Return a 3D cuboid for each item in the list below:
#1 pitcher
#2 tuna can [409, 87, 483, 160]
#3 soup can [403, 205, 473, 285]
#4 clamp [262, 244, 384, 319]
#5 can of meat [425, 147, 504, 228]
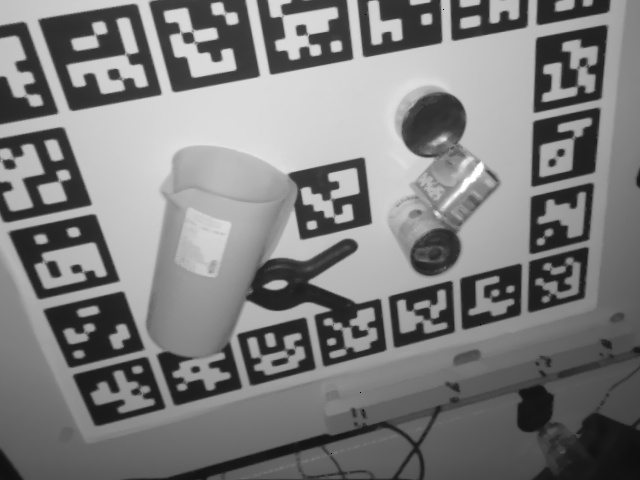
[{"bbox_3d":[-0.112,0.027,0.824,0.192,0.133,0.239,-5,128,-35],"label":"pitcher"},{"bbox_3d":[0.155,-0.145,0.857,0.086,0.034,0.085,-5,117,-10],"label":"tuna can"},{"bbox_3d":[0.154,0.004,0.898,0.068,0.102,0.067,-6,117,-12],"label":"soup can"},{"bbox_3d":[0.003,0.068,0.944,0.166,0.037,0.121,-9,123,-4],"label":"clamp"},{"bbox_3d":[0.191,-0.062,0.866,0.083,0.102,0.058,-46,116,9],"label":"can of meat"}]
